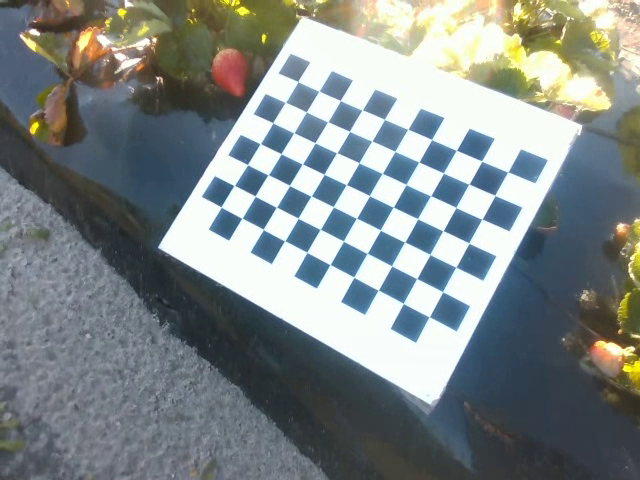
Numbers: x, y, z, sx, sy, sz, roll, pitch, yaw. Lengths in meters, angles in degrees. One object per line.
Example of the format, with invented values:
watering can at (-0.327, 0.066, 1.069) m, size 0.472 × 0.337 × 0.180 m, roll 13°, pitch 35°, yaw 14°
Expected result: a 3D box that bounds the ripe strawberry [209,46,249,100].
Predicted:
ripe strawberry at (-0.101, -0.184, 0.689) m, size 0.040 × 0.065 × 0.040 m, roll -20°, pitch -20°, yaw 2°
